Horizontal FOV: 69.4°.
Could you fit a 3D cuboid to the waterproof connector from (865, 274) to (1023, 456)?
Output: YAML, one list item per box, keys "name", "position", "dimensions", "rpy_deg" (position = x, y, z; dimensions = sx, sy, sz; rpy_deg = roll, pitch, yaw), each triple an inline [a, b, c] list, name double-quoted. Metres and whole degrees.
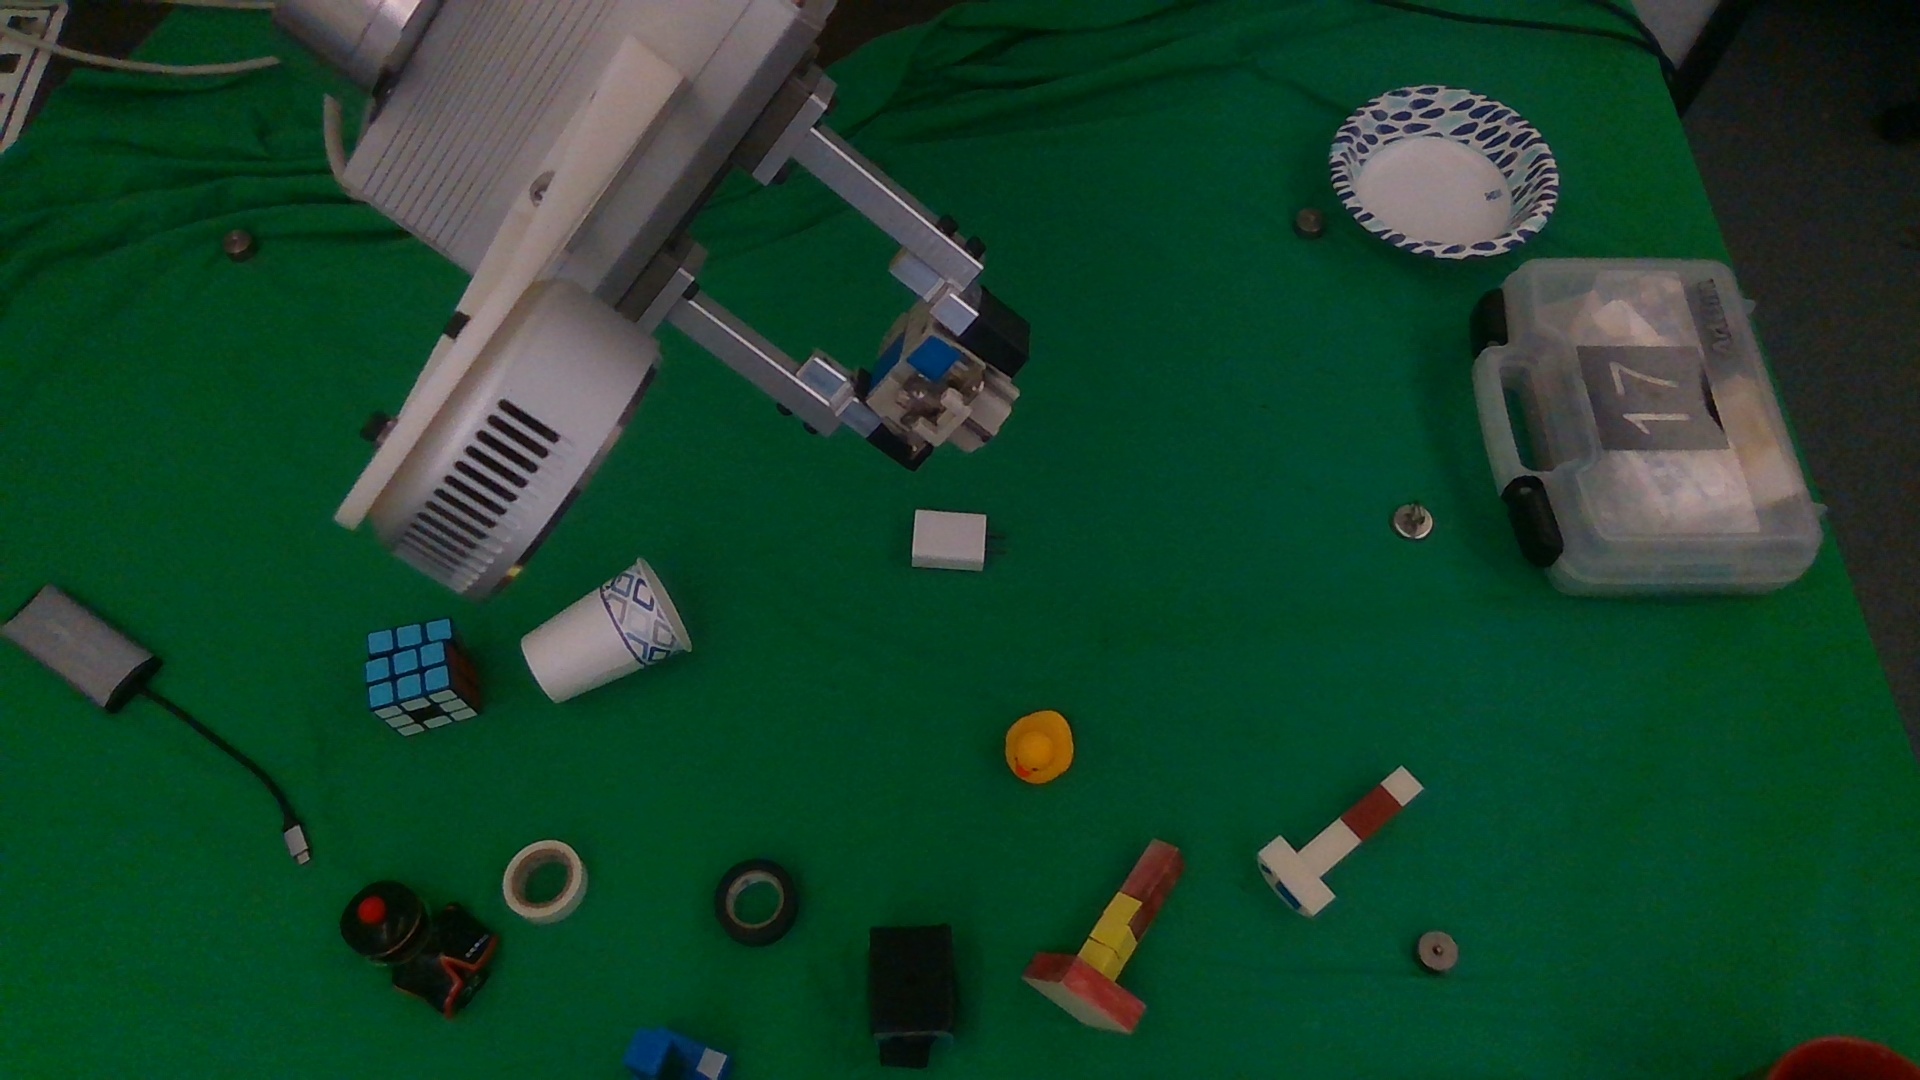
- name: "waterproof connector"
  position: [-0.003, -0.052, 0.424]
  dimensions: [0.037, 0.035, 0.065]
  rpy_deg: [36, 29, -16]

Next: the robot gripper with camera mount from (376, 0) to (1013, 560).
- name: "robot gripper with camera mount"
  position: [-0.055, -0.052, 0.327]
  dimensions: [0.158, 0.119, 0.193]
  rpy_deg: [40, 24, -20]
